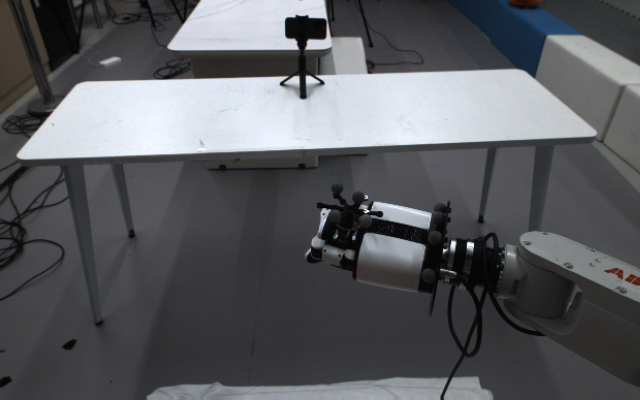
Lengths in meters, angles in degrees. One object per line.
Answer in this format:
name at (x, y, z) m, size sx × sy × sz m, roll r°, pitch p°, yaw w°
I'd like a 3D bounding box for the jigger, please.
jigger at (0.035, 0.056, 0.676) m, size 0.043 × 0.071 × 0.043 m, roll 7°, pitch 32°, yaw -4°
